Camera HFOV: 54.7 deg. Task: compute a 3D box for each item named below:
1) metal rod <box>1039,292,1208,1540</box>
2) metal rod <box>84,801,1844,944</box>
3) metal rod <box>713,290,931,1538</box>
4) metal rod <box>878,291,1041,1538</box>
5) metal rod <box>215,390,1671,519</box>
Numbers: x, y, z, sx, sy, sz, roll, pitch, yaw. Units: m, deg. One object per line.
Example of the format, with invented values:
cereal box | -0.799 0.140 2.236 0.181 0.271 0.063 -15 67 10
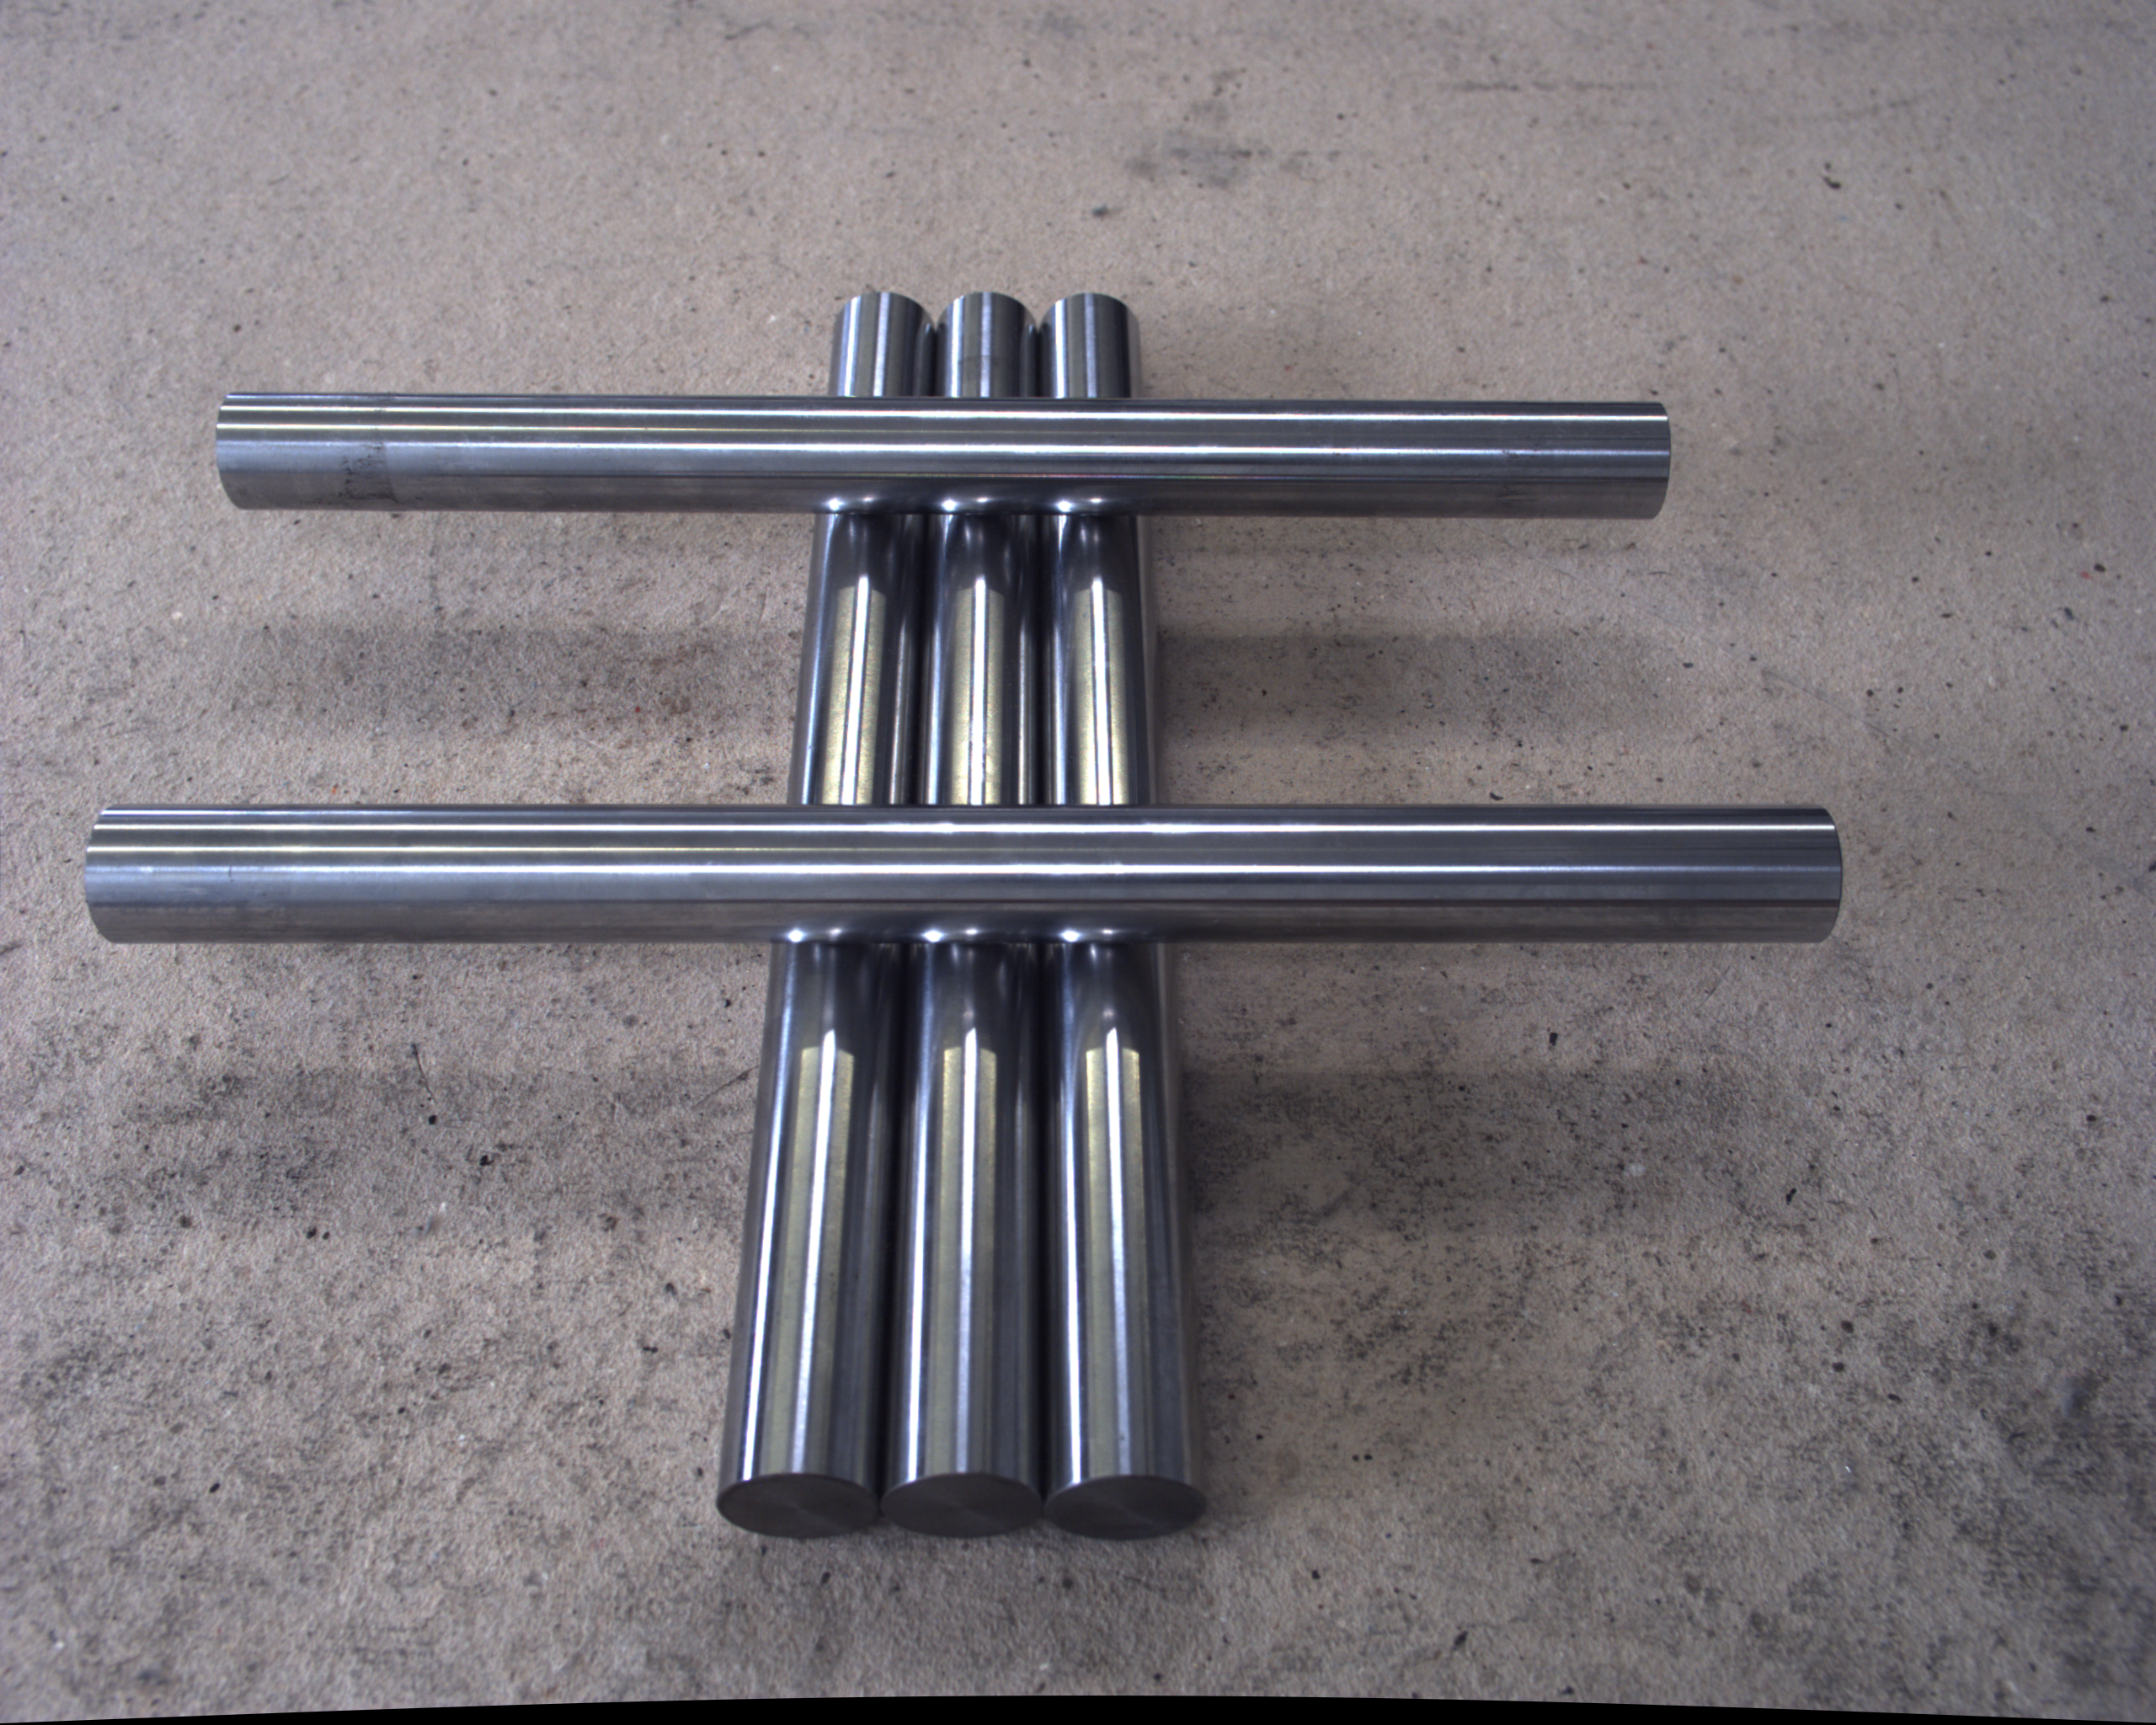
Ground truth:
metal rod | 0.005 -0.015 0.417 0.025 0.025 0.300 -1 50 -1
metal rod | -0.019 0.002 0.370 0.302 0.025 0.025 0 50 0
metal rod | -0.046 -0.016 0.417 0.025 0.025 0.300 -1 50 -1
metal rod | -0.021 -0.016 0.417 0.025 0.025 0.300 -1 50 -1
metal rod | -0.028 -0.087 0.445 0.302 0.025 0.025 0 50 0
